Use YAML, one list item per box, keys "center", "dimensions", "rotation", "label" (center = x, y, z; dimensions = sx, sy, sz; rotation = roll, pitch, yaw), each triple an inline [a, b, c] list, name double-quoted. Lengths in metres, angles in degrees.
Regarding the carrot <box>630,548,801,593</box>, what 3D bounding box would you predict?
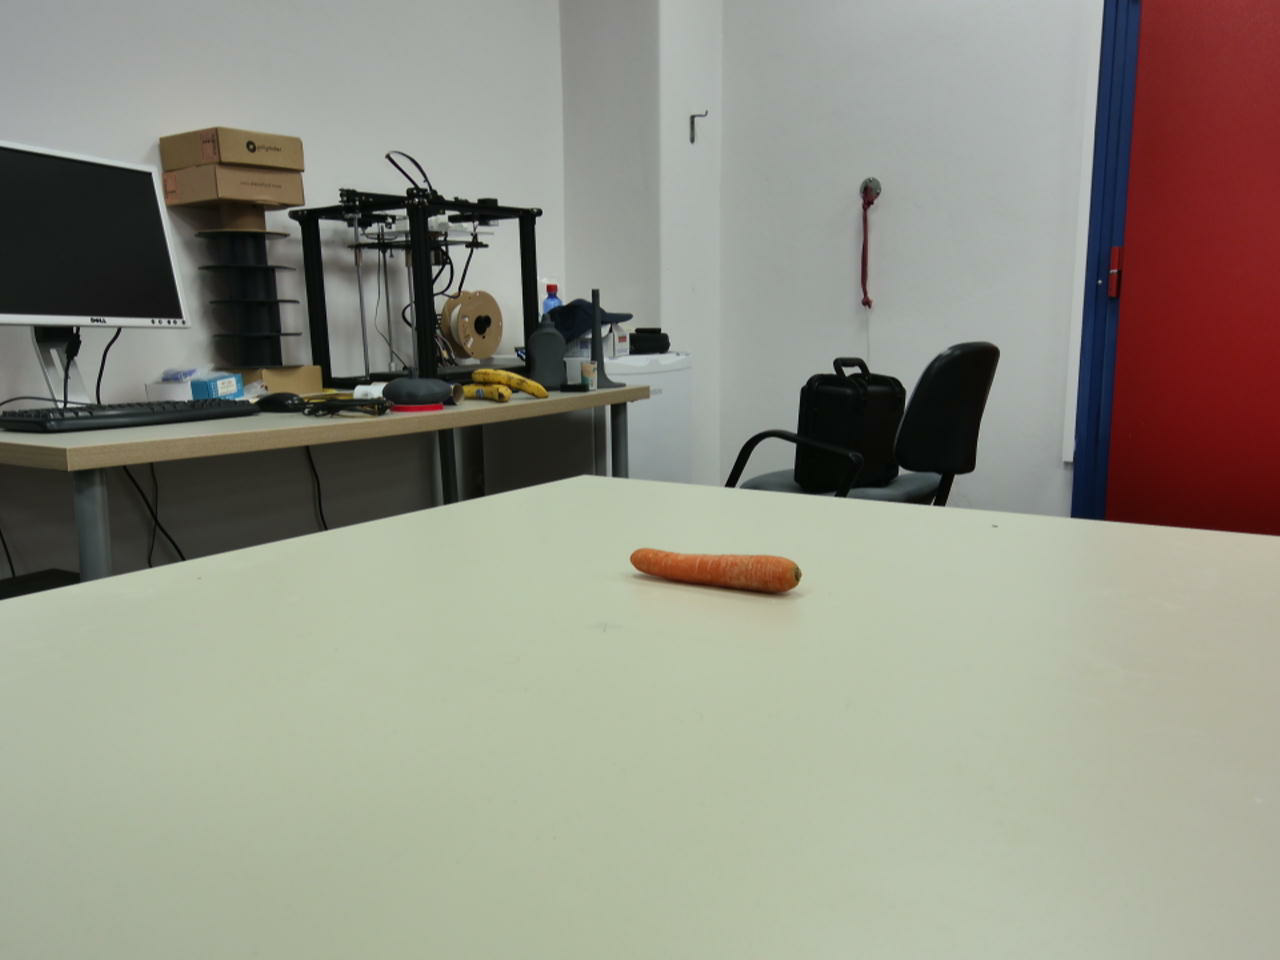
- center: [0.047, 0.057, 0.652]
  dimensions: [0.122, 0.023, 0.024]
  rotation: [5, 8, 32]
  label: "carrot"
